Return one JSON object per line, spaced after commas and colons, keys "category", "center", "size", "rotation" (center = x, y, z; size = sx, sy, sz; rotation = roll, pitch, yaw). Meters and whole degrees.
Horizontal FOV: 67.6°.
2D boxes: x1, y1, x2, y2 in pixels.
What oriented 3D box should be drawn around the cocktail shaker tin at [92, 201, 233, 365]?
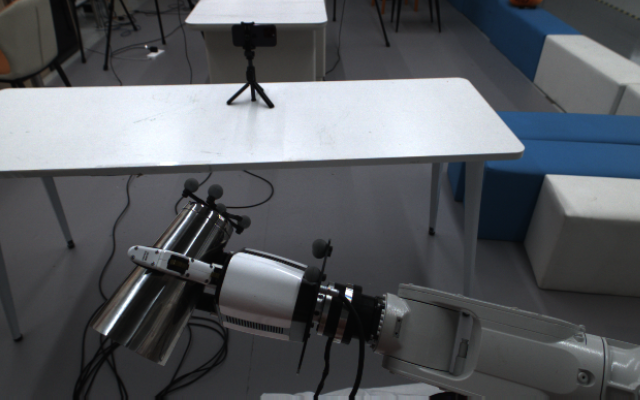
{"category": "cocktail shaker tin", "center": [-0.169, 0.088, 0.555], "size": [0.093, 0.093, 0.170], "rotation": [18, 66, 21]}
